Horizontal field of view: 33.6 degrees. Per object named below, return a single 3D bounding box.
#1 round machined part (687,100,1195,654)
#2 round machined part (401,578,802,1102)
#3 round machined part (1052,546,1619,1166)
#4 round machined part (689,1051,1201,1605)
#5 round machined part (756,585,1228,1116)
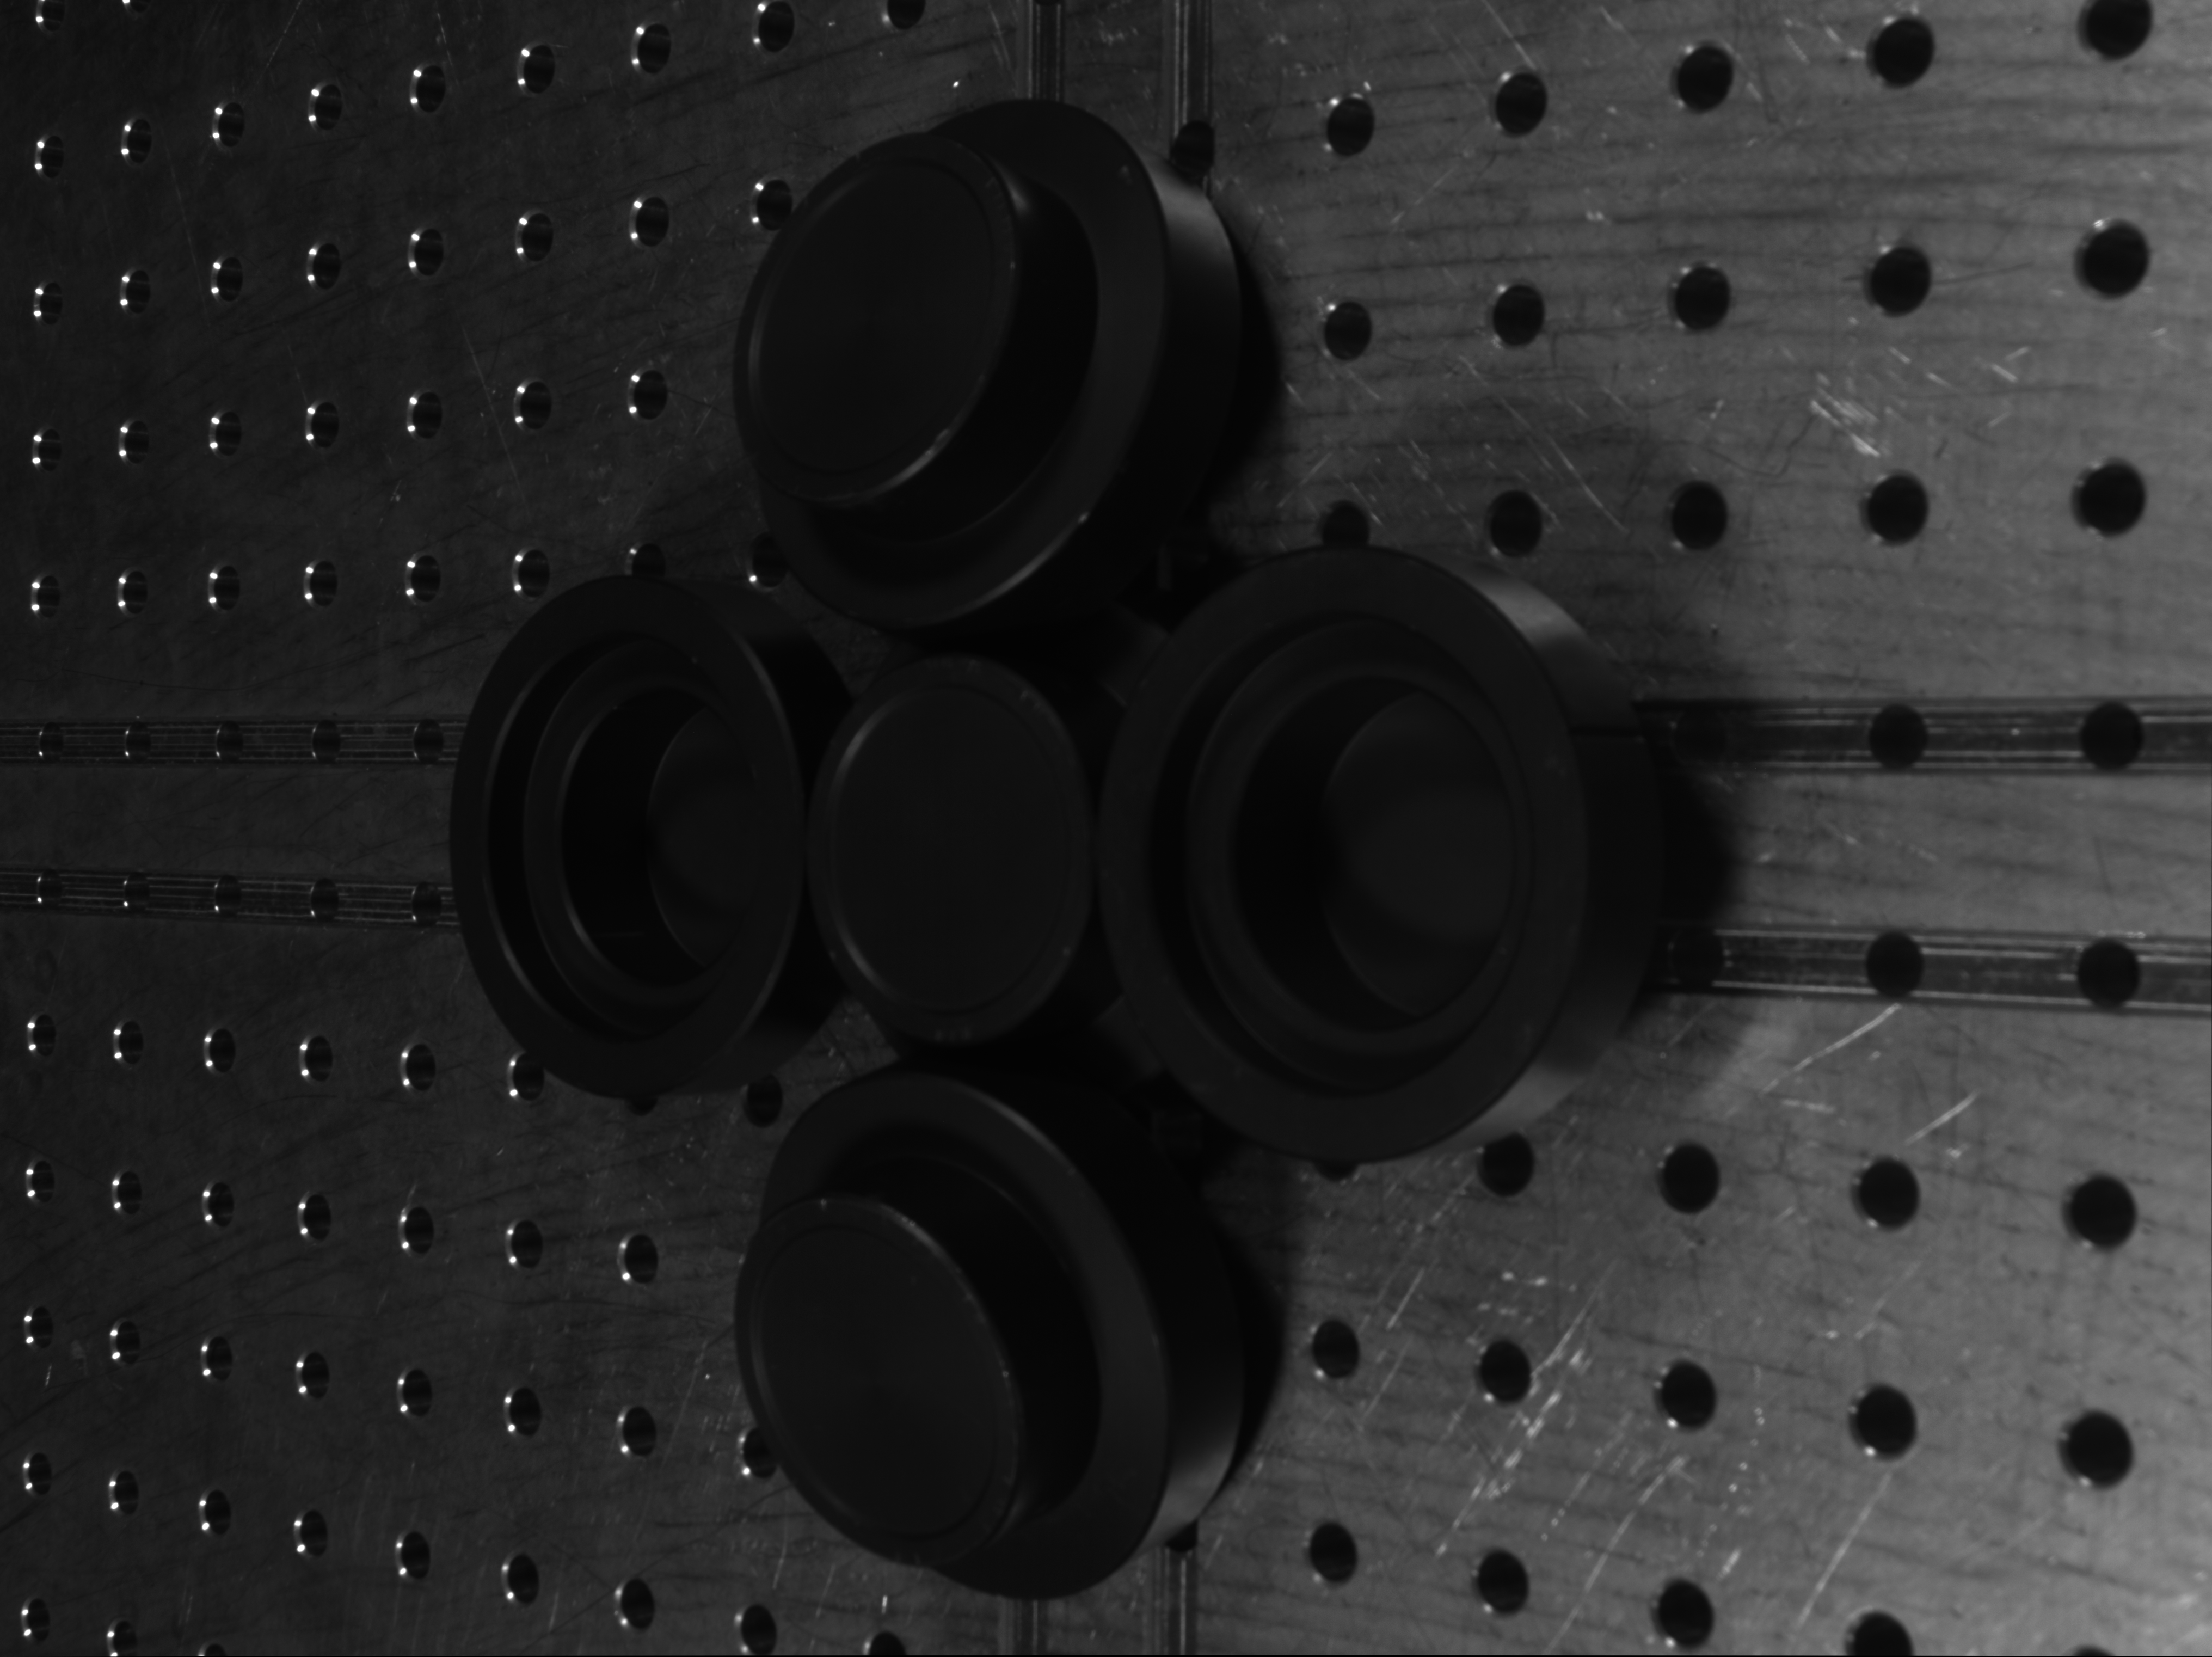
[{"bbox_3d":[-0.035,-0.082,0.643,0.098,0.042,0.098,-15,66,37],"label":"round machined part"},{"bbox_3d":[-0.087,0.002,0.699,0.098,0.042,0.098,0,90,39],"label":"round machined part"},{"bbox_3d":[0.042,0.004,0.594,0.098,0.042,0.098,0,90,39],"label":"round machined part"},{"bbox_3d":[-0.035,0.091,0.641,0.098,0.042,0.098,14,113,36],"label":"round machined part"},{"bbox_3d":[-0.023,0.004,0.646,0.098,0.042,0.098,0,90,39],"label":"round machined part"}]
